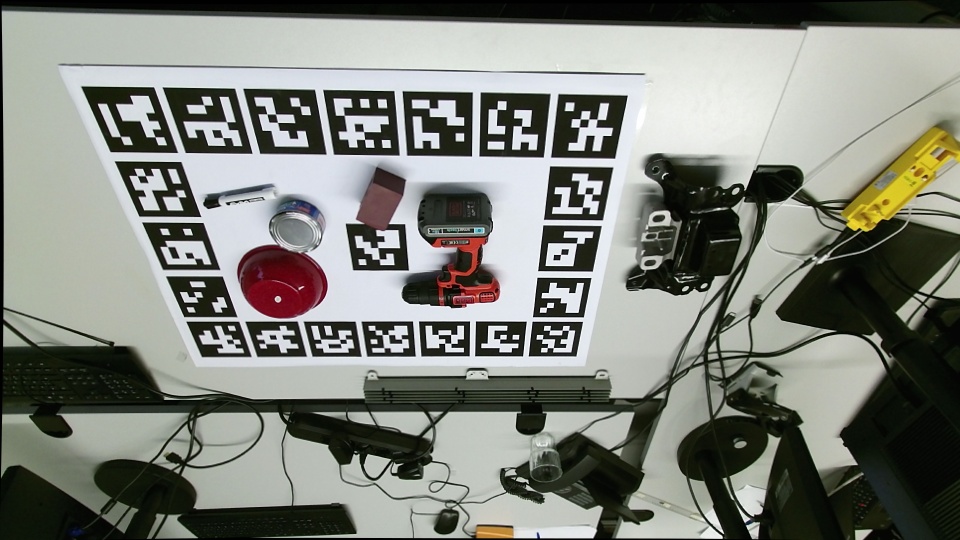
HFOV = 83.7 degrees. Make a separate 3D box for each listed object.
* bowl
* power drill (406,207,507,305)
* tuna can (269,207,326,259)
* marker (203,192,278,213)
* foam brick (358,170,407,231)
[{"bbox_3d":[-0.355,0.042,0.969,0.162,0.055,0.162,-3,134,-3],"label":"bowl"},{"bbox_3d":[-0.043,-0.017,0.926,0.185,0.057,0.187,1,129,2],"label":"power drill"},{"bbox_3d":[-0.302,-0.062,0.893,0.086,0.033,0.086,0,127,1],"label":"tuna can"},{"bbox_3d":[-0.387,-0.108,0.864,0.121,0.019,0.019,-8,125,4],"label":"marker"},{"bbox_3d":[-0.156,-0.110,0.859,0.051,0.052,0.078,21,122,-15],"label":"foam brick"}]
